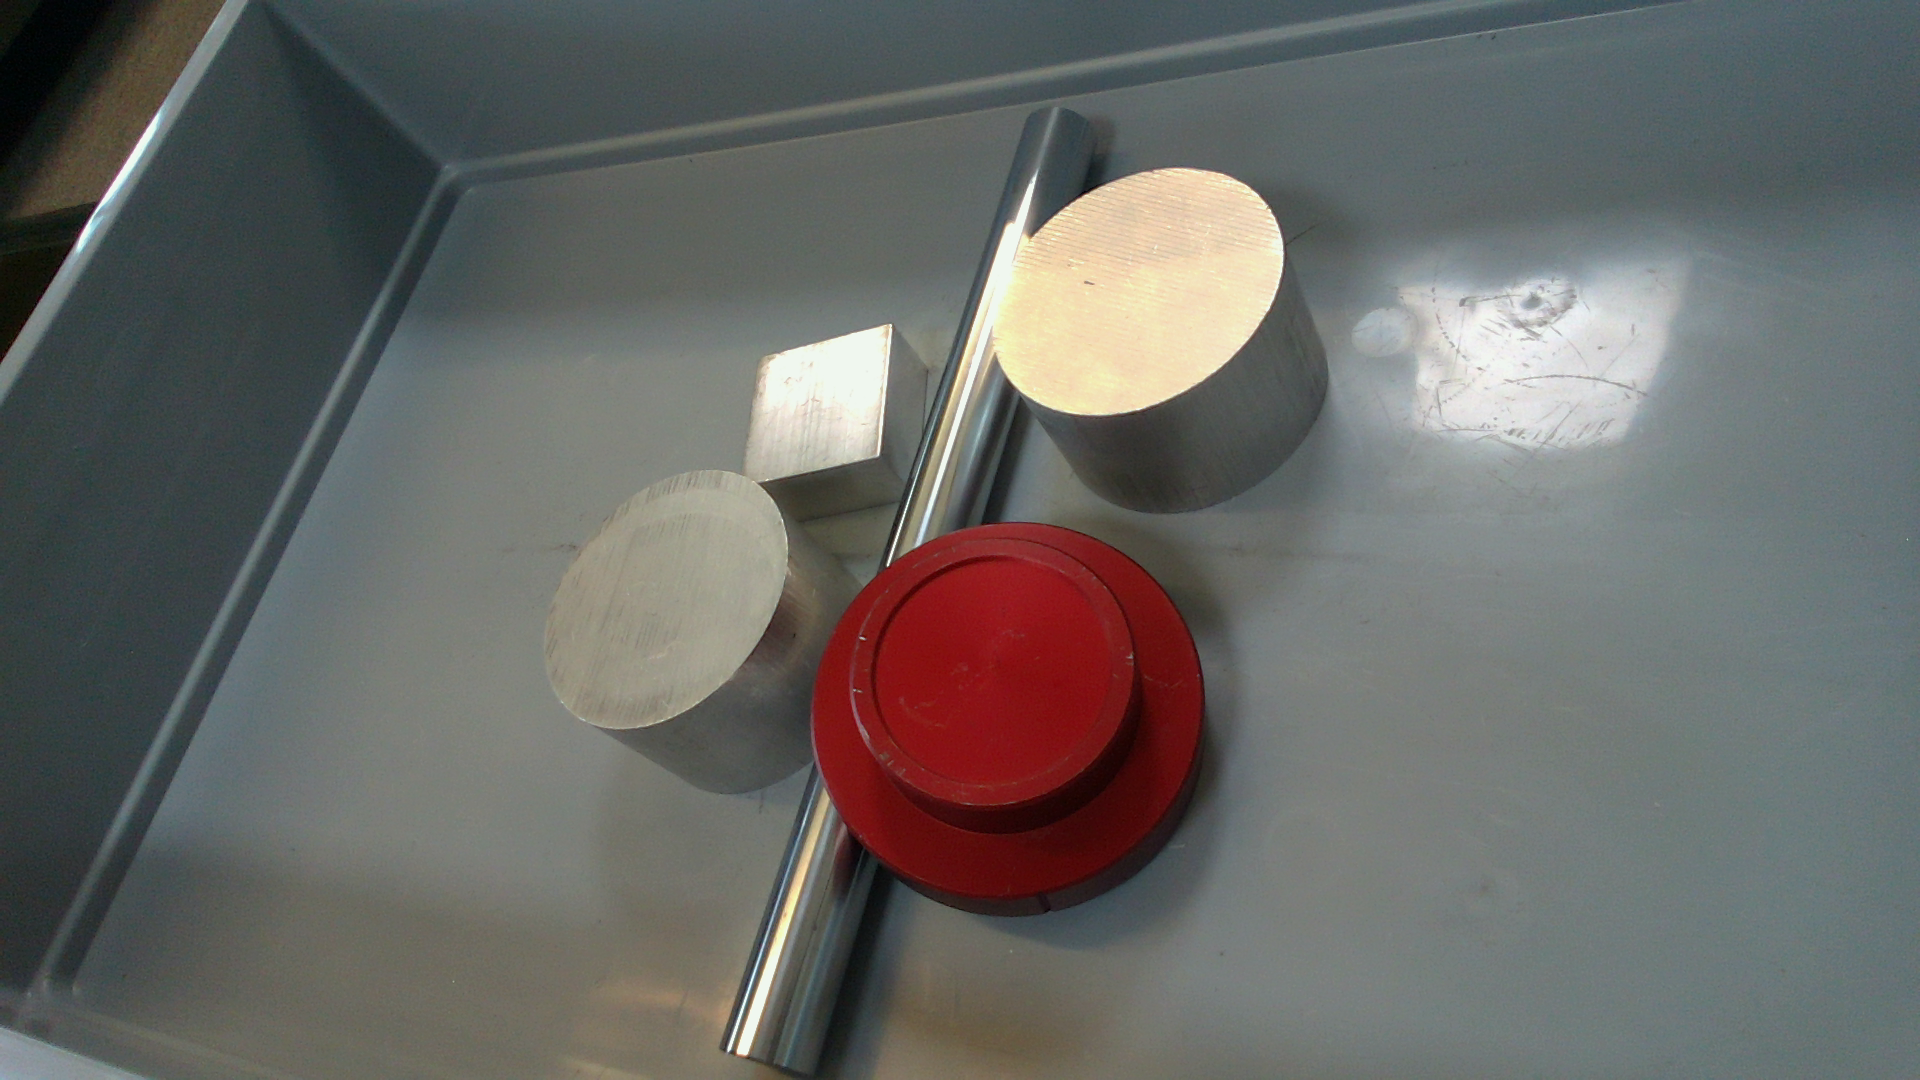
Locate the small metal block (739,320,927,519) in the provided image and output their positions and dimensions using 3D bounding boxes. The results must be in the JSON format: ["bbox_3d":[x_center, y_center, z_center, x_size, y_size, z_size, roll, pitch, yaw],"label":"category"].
[{"bbox_3d":[-0.040,-0.037,0.436,0.050,0.025,0.050,-11,57,23],"label":"small metal block"}]

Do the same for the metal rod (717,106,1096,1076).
[{"bbox_3d":[-0.007,-0.003,0.398,0.025,0.025,0.300,3,63,30],"label":"metal rod"}]

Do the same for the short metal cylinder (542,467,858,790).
[{"bbox_3d":[-0.072,0.026,0.398,0.080,0.050,0.080,-13,56,21],"label":"short metal cylinder"}]

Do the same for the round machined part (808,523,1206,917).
[{"bbox_3d":[0.010,0.038,0.336,0.098,0.042,0.098,-4,61,8],"label":"round machined part"}]

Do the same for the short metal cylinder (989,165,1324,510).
[{"bbox_3d":[0.055,-0.055,0.380,0.080,0.050,0.080,-13,56,21],"label":"short metal cylinder"}]
